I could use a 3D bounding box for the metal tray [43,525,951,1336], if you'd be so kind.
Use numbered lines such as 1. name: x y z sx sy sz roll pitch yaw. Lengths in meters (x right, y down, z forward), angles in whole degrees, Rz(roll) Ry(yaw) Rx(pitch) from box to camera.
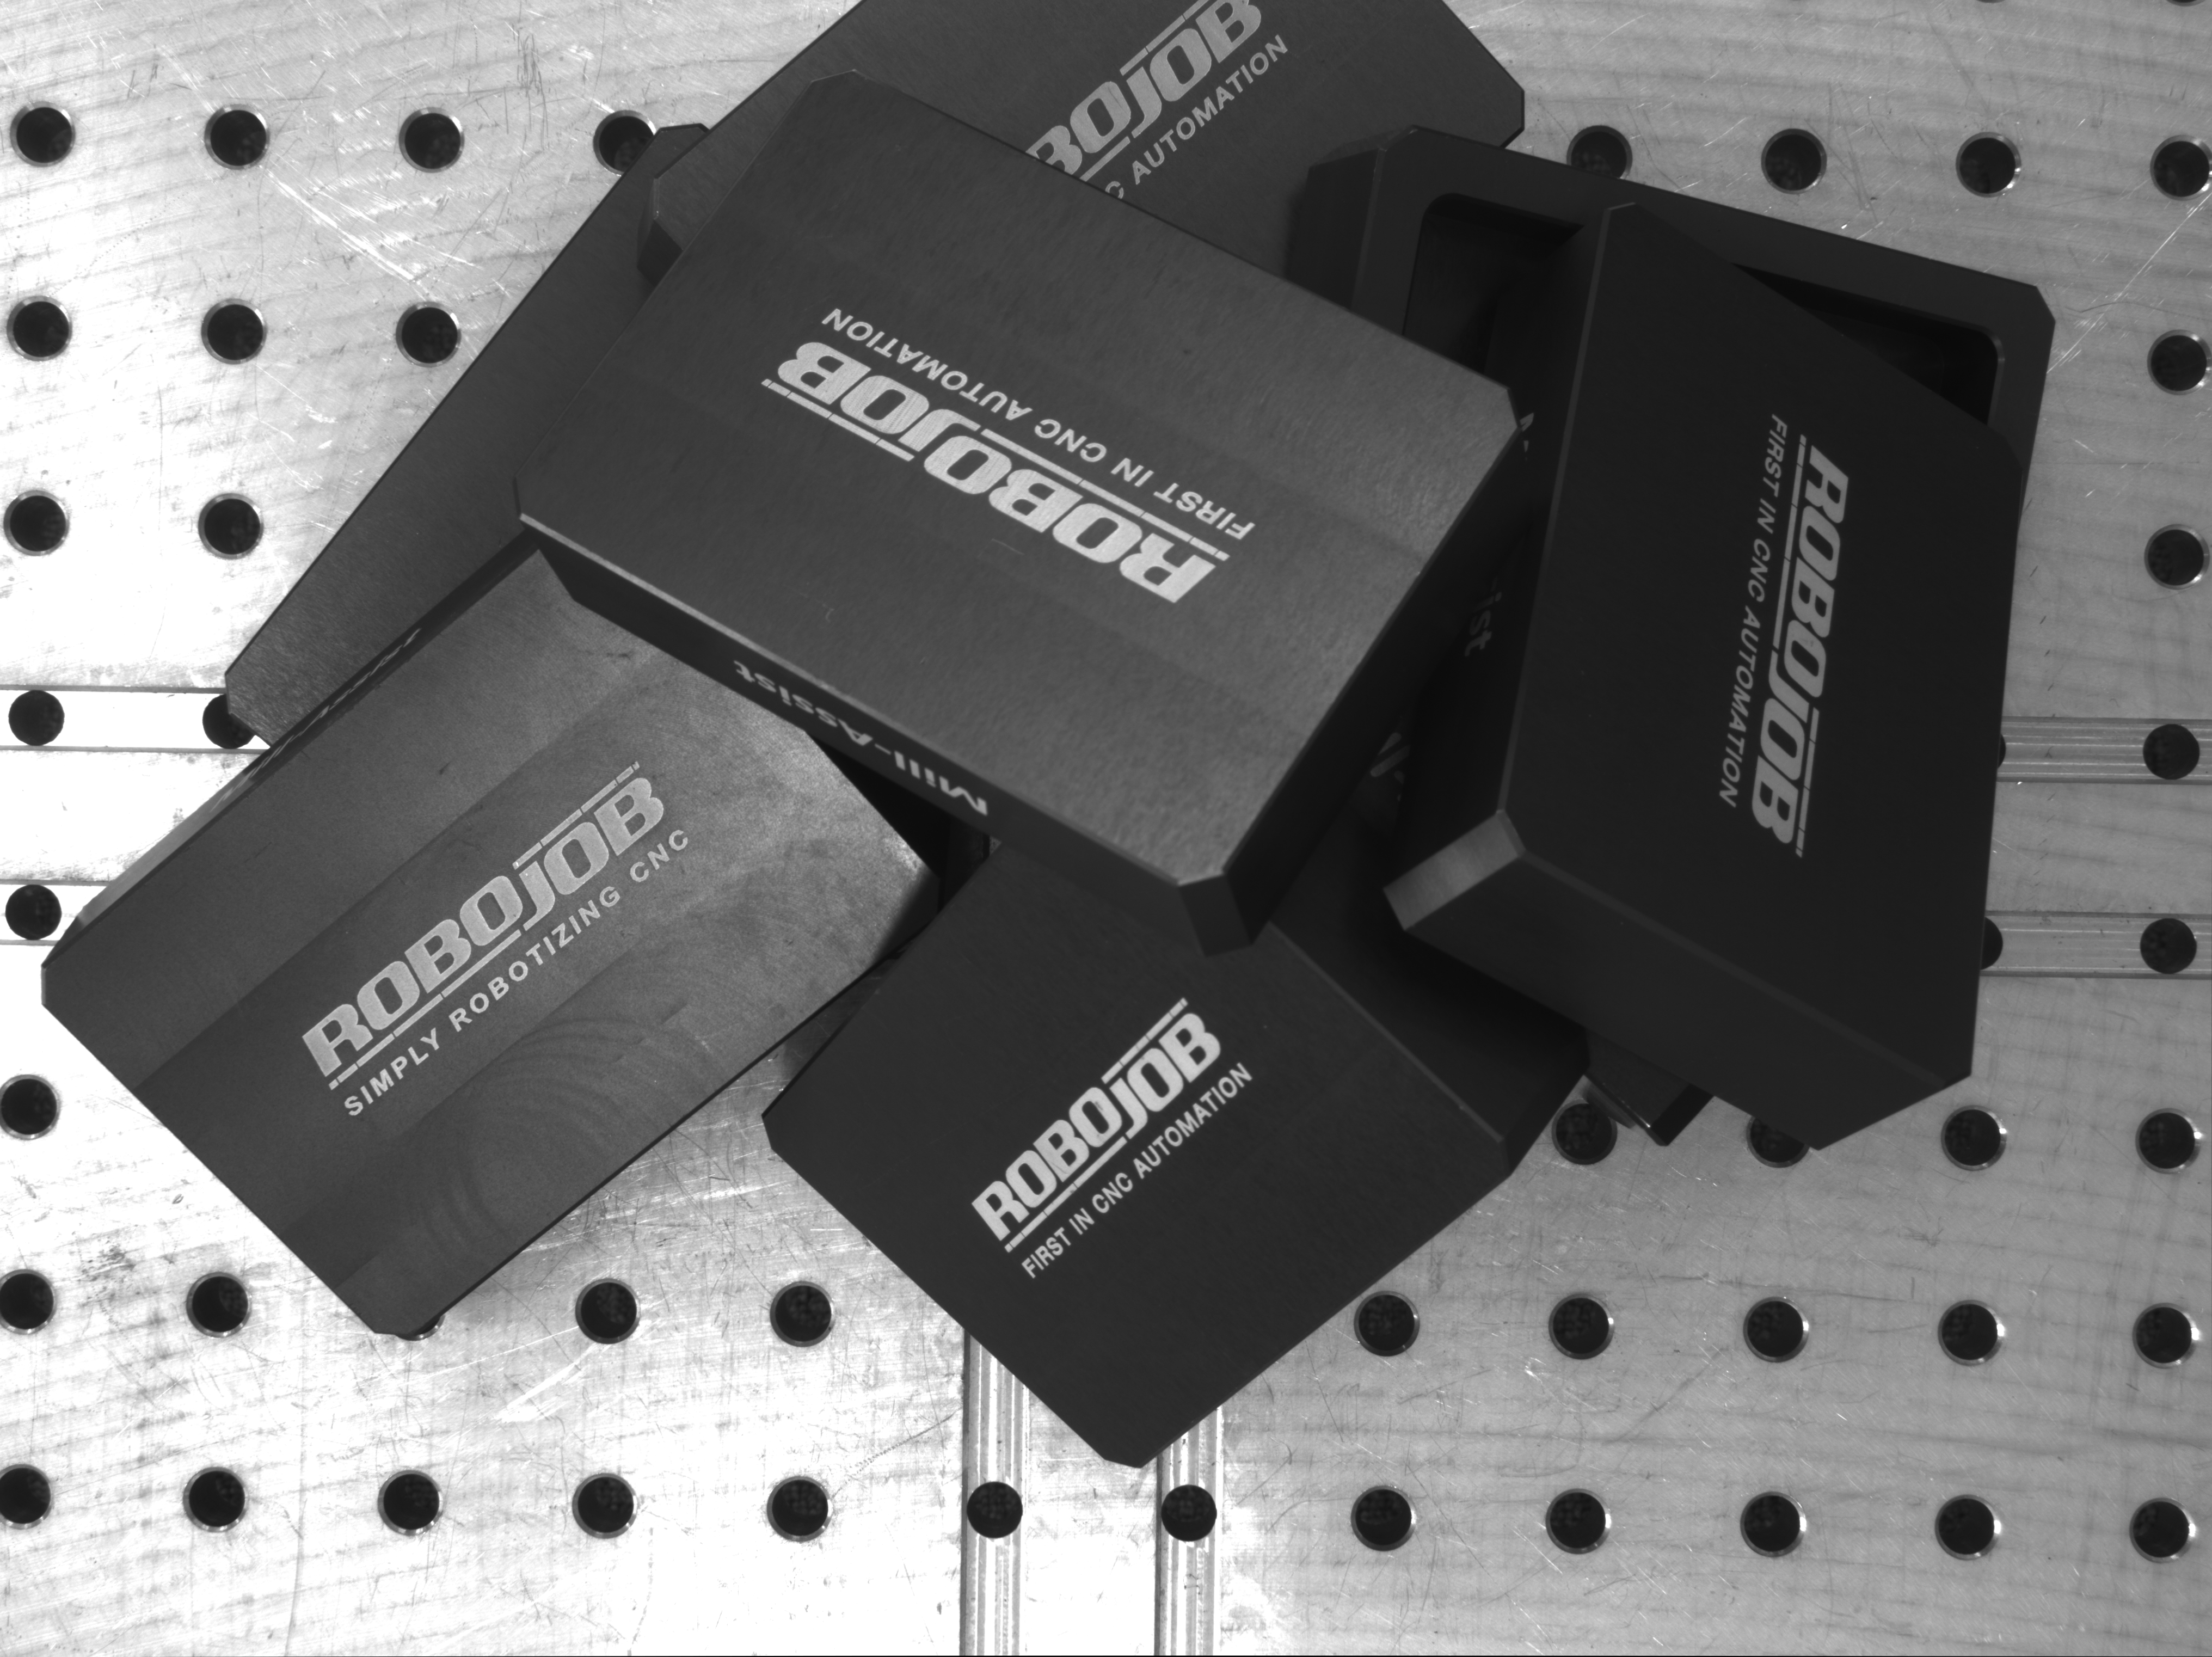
1. metal tray: -0.102 0.014 0.623 0.130 0.030 0.090 -39 106 11

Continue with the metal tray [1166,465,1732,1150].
1. metal tray: 0.052 -0.005 0.617 0.130 0.090 0.030 45 91 1

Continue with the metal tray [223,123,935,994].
1. metal tray: -0.079 -0.046 0.645 0.090 0.030 0.130 39 90 0

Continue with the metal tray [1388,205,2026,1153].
1. metal tray: 0.099 -0.025 0.583 0.090 0.030 0.130 28 54 -20

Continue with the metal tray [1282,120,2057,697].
1. metal tray: 0.092 -0.060 0.624 0.130 0.030 0.090 10 89 -20

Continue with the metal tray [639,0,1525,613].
1. metal tray: -0.004 -0.111 0.627 0.130 0.030 0.090 -43 92 -14

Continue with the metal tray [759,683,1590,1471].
1. metal tray: 0.007 0.044 0.602 0.090 0.130 0.030 43 48 0

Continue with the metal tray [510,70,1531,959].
1. metal tray: -0.013 -0.050 0.558 0.130 0.030 0.090 29 75 20
